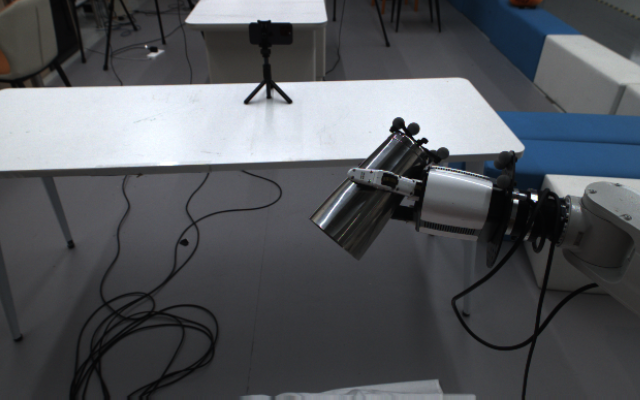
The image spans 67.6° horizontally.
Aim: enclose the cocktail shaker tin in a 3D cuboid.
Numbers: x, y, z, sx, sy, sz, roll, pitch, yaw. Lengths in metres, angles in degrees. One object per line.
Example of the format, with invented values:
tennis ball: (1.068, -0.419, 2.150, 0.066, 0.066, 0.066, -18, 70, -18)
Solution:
cocktail shaker tin: (0.074, -0.014, 0.676, 0.170, 0.093, 0.093, -48, 49, -4)
